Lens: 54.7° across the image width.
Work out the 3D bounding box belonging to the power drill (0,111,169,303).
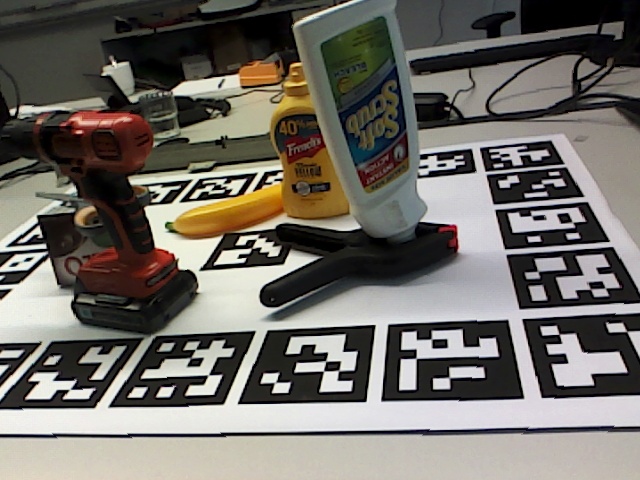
[{"bbox_3d":[-0.233,-0.033,0.617,0.185,0.186,0.057,-1,19,26],"label":"power drill"}]

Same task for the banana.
[{"bbox_3d":[-0.106,-0.058,0.848,0.196,0.039,0.074,-22,11,-23],"label":"banana"}]

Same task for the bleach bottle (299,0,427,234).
[{"bbox_3d":[0.061,-0.105,0.617,0.102,0.250,0.068,-19,21,-1],"label":"bleach bottle"}]

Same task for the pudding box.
[{"bbox_3d":[-0.264,0.002,0.737,0.114,0.090,0.038,-2,19,16],"label":"pudding box"}]

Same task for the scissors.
[{"bbox_3d":[-0.282,-0.058,0.718,0.204,0.016,0.087,13,38,32],"label":"scissors"}]

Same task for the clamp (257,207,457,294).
[{"bbox_3d":[0.042,-0.002,0.654,0.203,0.036,0.166,-6,27,6],"label":"clamp"}]

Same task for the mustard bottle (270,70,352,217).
[{"bbox_3d":[-0.014,-0.118,0.784,0.097,0.191,0.058,3,28,25],"label":"mustard bottle"}]
